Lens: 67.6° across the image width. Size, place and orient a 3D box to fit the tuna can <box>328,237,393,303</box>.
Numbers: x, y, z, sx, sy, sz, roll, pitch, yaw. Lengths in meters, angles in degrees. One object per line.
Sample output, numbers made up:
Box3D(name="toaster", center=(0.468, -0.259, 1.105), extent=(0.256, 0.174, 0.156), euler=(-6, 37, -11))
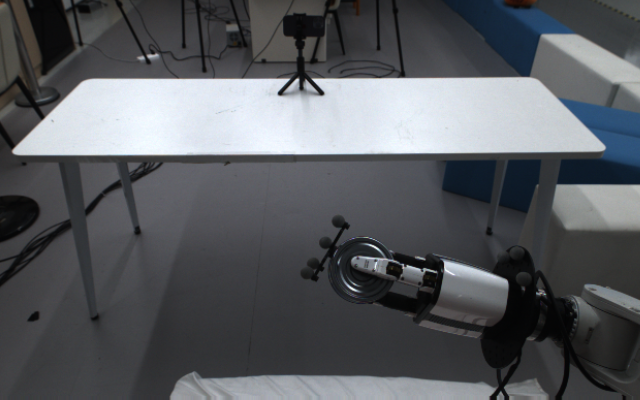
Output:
Box3D(name="tuna can", center=(0.057, 0.089, 0.627), extent=(0.085, 0.034, 0.085), euler=(1, 75, -5))
